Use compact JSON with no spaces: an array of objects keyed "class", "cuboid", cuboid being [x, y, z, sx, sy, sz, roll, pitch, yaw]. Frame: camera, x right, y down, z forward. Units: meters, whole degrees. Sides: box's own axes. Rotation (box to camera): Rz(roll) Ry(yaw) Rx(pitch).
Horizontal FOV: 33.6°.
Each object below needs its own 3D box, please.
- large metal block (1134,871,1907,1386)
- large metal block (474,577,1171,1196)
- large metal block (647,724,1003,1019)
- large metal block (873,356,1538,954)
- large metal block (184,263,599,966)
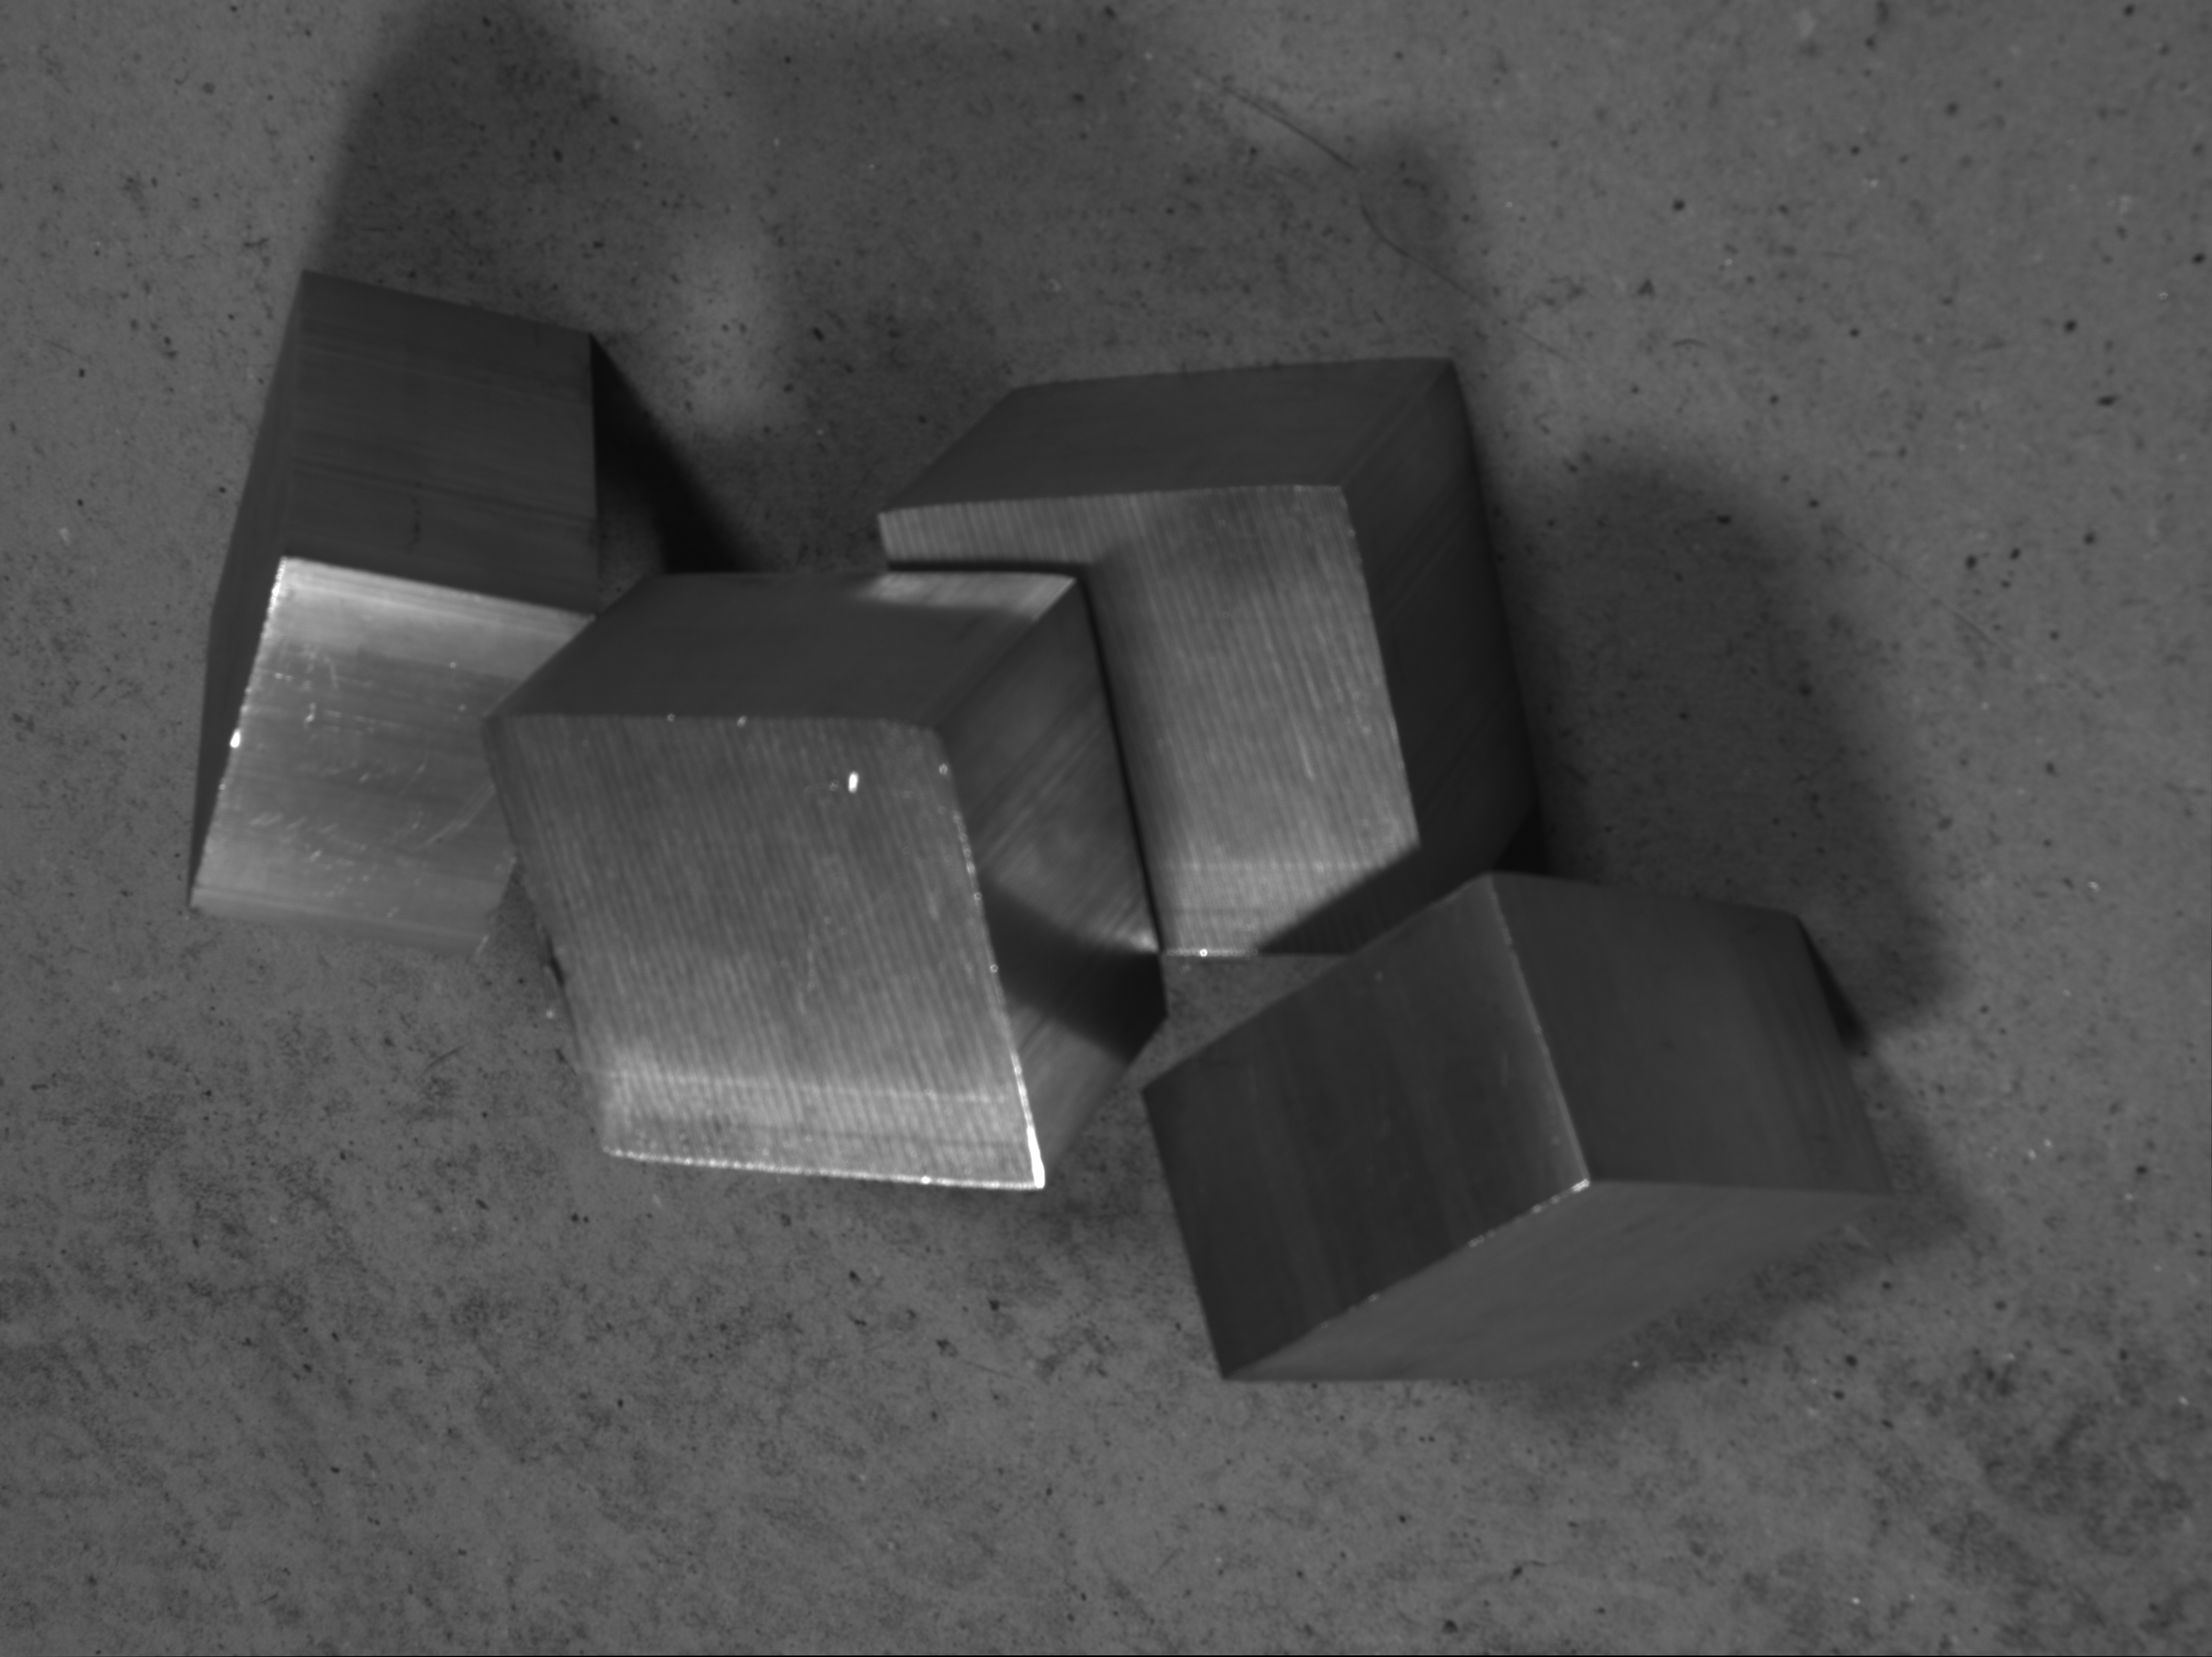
[{"class":"large metal block","cuboid":[0.066,0.050,0.585,0.080,0.080,0.050,-35,61,37]},{"class":"large metal block","cuboid":[-0.043,0.007,0.575,0.080,0.050,0.080,2,119,26]},{"class":"large metal block","cuboid":[-0.046,0.010,0.642,0.080,0.050,0.080,0,118,27]},{"class":"large metal block","cuboid":[0.018,-0.027,0.591,0.080,0.050,0.080,0,118,27]},{"class":"large metal block","cuboid":[-0.123,-0.036,0.627,0.050,0.080,0.080,11,130,-19]}]
